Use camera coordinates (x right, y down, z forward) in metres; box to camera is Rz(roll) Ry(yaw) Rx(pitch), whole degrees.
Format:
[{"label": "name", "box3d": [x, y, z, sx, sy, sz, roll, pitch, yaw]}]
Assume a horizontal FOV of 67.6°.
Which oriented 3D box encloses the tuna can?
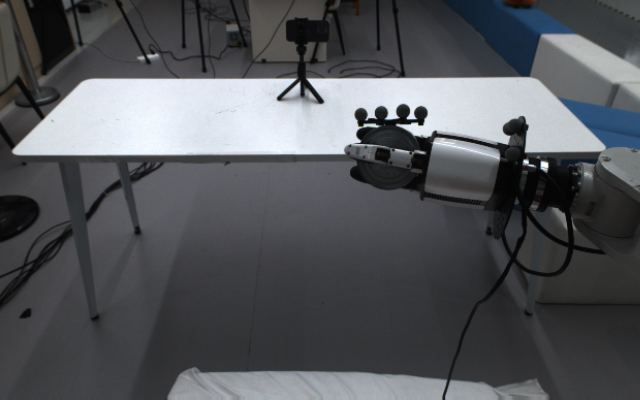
[{"label": "tuna can", "box3d": [0.095, -0.058, 0.652, 0.085, 0.085, 0.034, 12, 8, 14]}]
